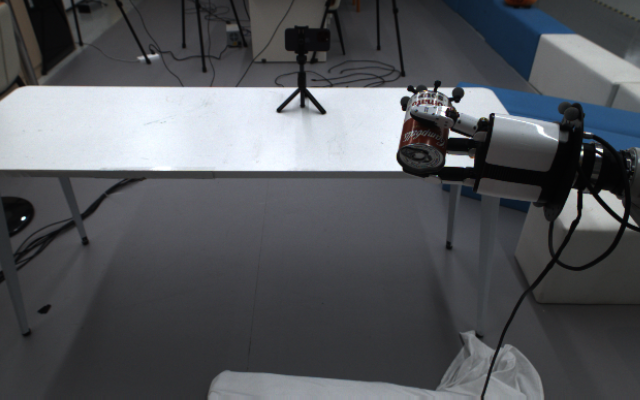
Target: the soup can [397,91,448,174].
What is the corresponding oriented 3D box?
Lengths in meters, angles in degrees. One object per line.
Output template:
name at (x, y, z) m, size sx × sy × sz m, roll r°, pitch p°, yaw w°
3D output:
soup can at (0.152, -0.101, 0.695) m, size 0.067 × 0.067 × 0.101 m, roll 9°, pitch 60°, yaw 10°
